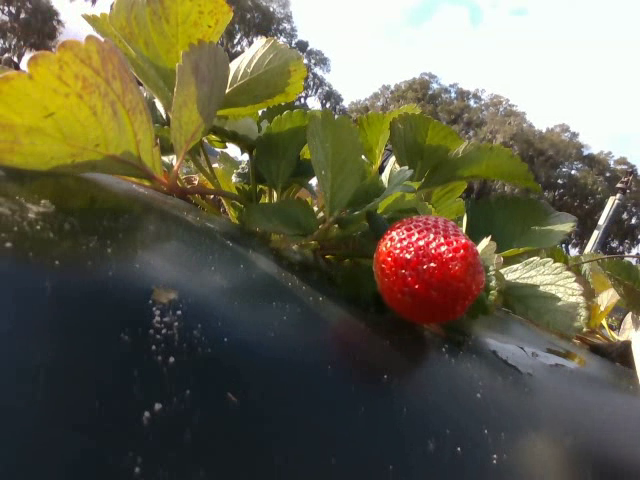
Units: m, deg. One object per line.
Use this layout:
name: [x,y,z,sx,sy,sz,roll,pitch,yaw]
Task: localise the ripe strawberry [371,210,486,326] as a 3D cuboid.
ripe strawberry: [0.036,0.007,0.183,0.040,0.042,0.047,-7,-5,-19]
